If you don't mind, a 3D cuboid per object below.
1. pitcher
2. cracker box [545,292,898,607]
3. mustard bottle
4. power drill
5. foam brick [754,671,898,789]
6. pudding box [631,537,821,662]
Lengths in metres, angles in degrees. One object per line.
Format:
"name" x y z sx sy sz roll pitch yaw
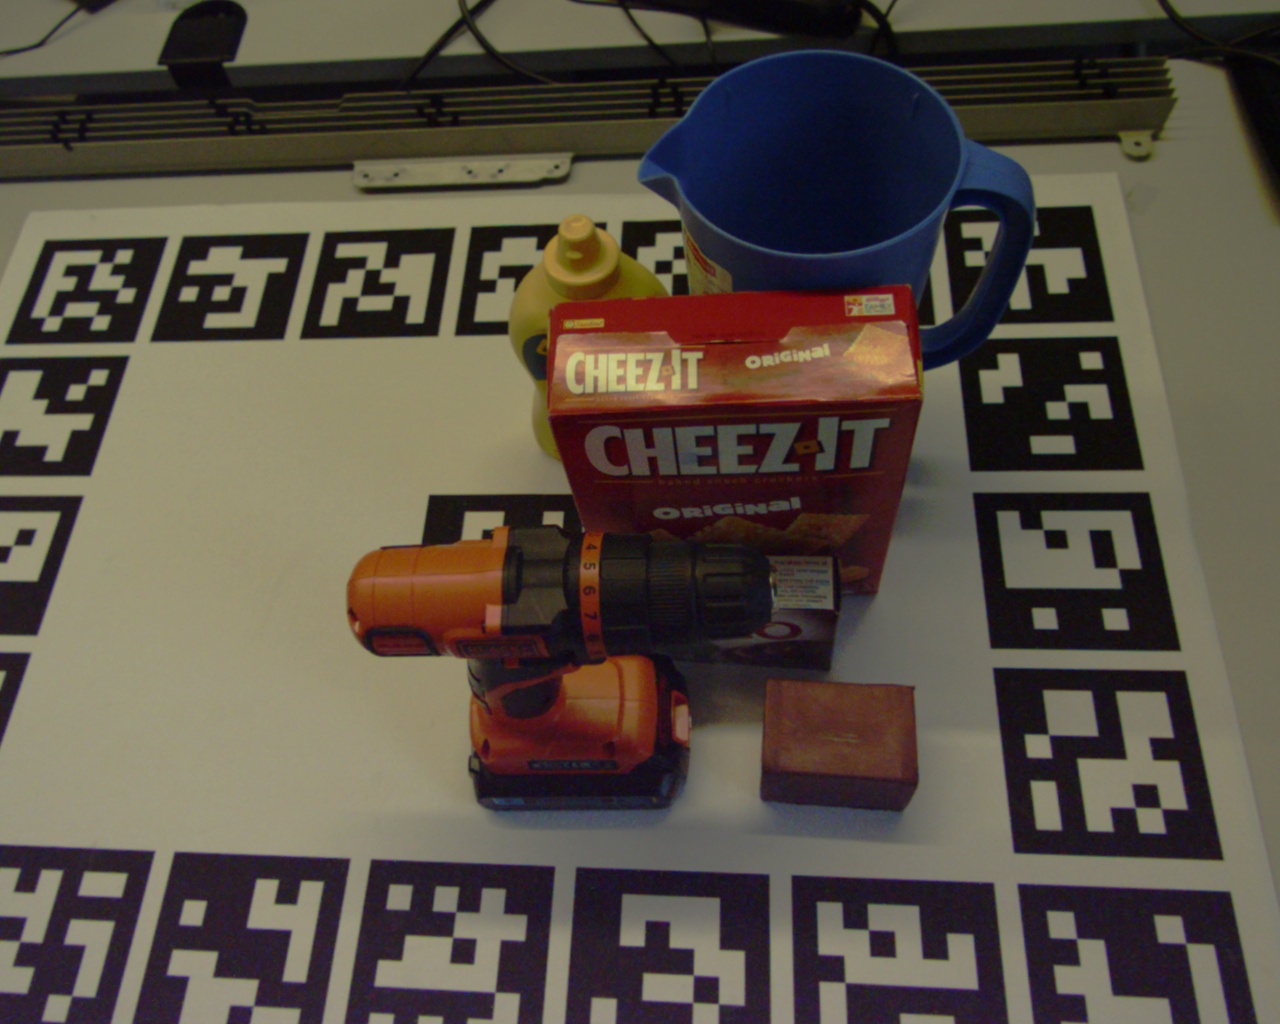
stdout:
"pitcher" 0.099 -0.111 0.654 0.190 0.241 0.133 4 63 11
"cracker box" 0.049 -0.018 0.617 0.165 0.212 0.072 -3 60 7
"mustard bottle" -0.032 -0.105 0.681 0.097 0.190 0.058 12 65 12
"power drill" -0.026 0.073 0.560 0.185 0.186 0.057 -1 59 5
"foam brick" 0.102 0.122 0.633 0.078 0.051 0.053 2 64 8
"pudding box" 0.044 0.050 0.641 0.114 0.089 0.039 -1 60 10
